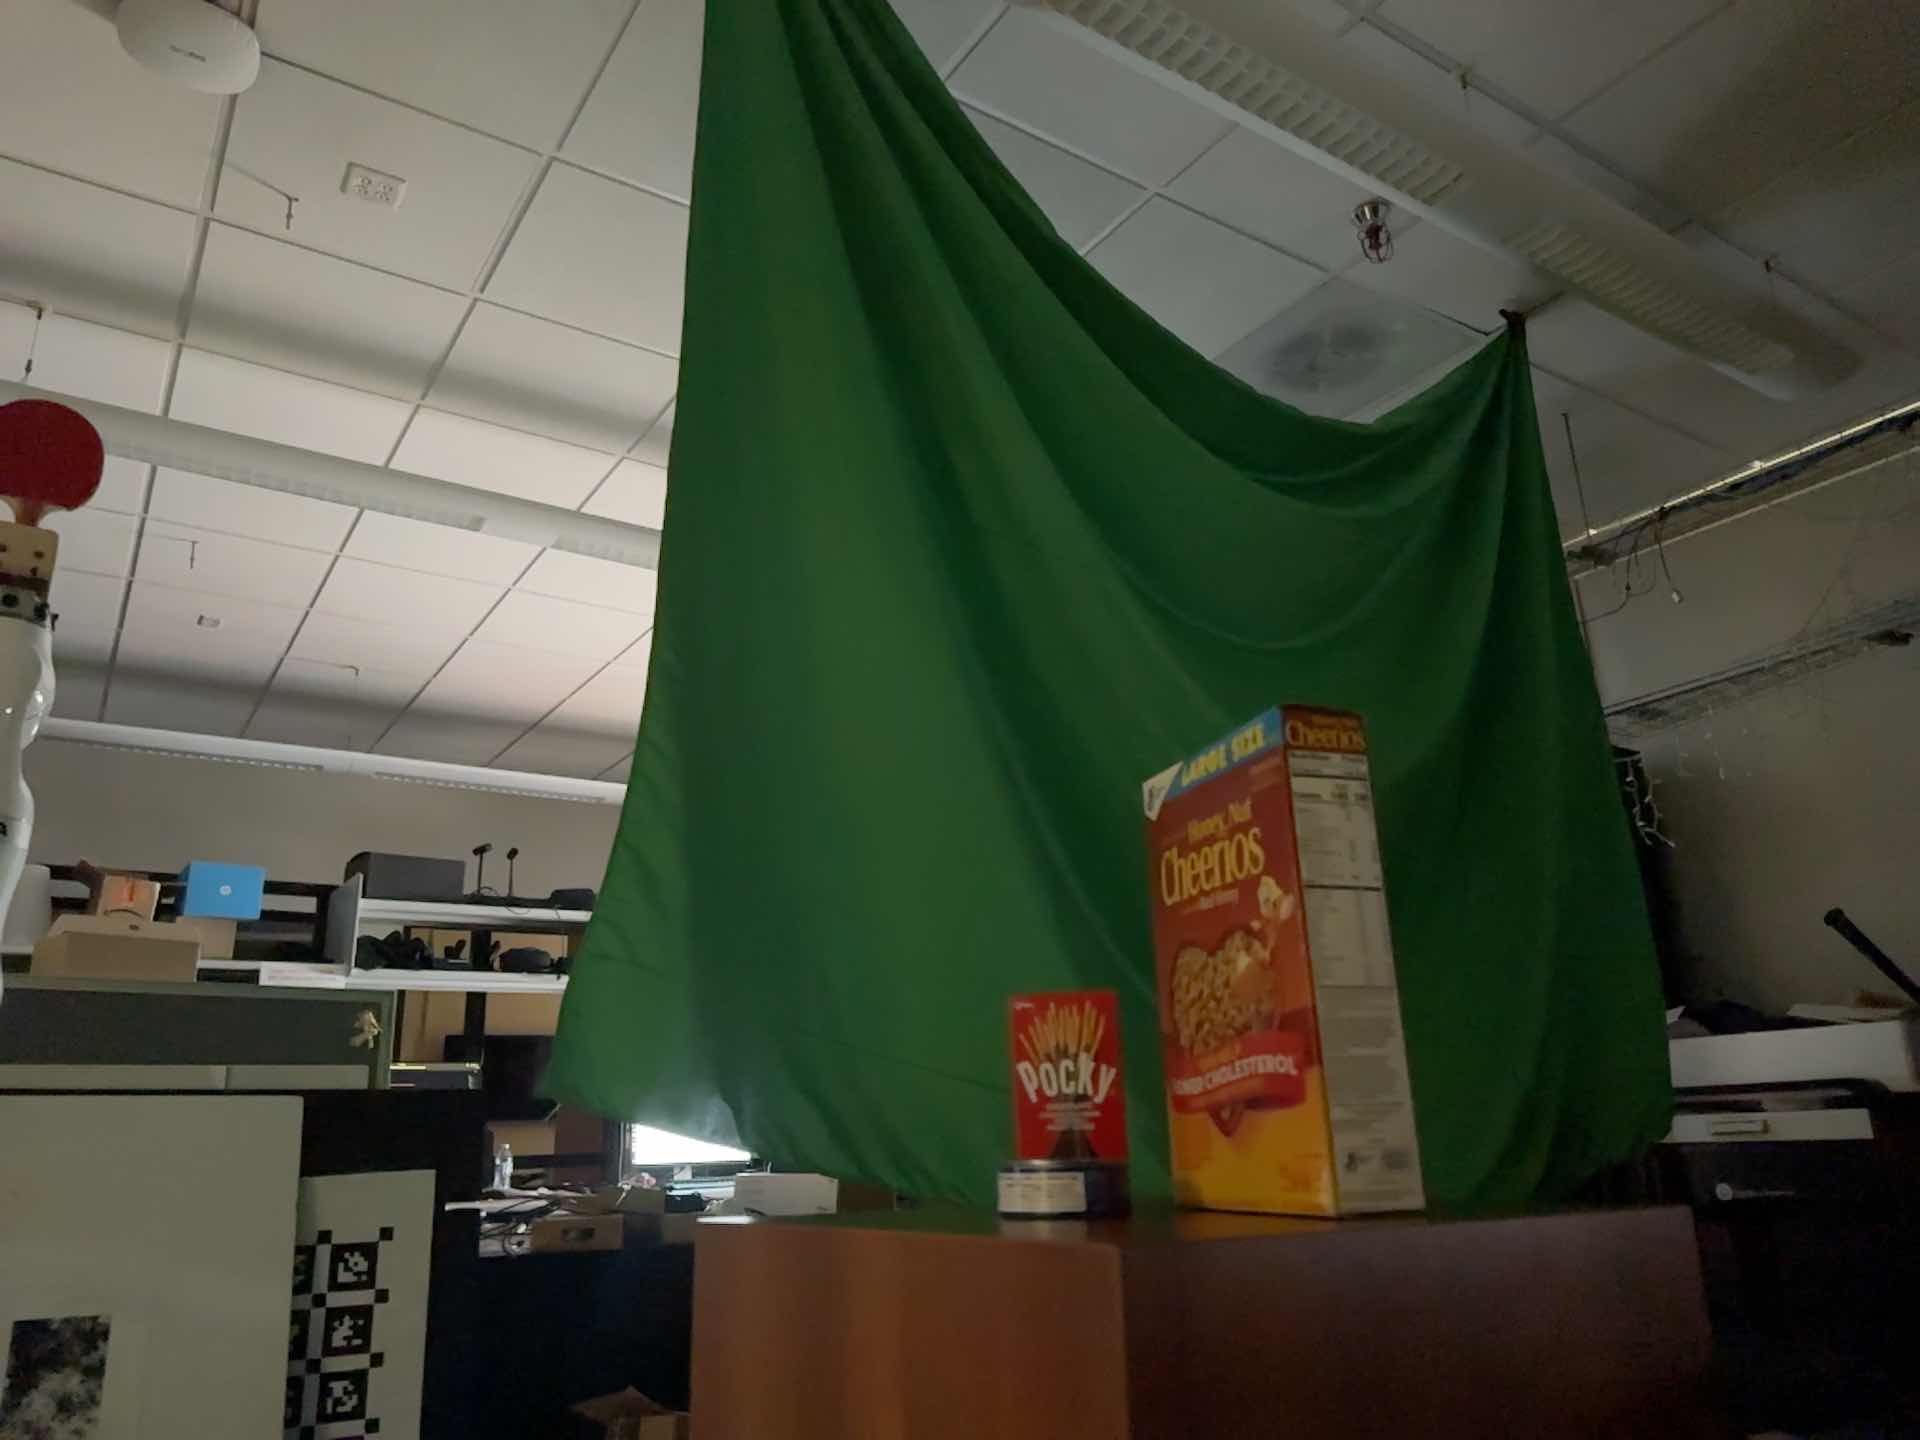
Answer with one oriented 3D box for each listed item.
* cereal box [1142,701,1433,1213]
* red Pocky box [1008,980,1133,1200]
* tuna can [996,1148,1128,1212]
[{"bbox_3d":[0.204,0.161,0.897,0.065,0.297,0.195,4,-17,-20],"label":"cereal box"},{"bbox_3d":[0.079,0.270,0.985,0.083,0.155,0.028,-5,-15,9],"label":"red Pocky box"},{"bbox_3d":[0.066,0.296,0.868,0.083,0.034,0.083,-2,-16,-1],"label":"tuna can"}]
